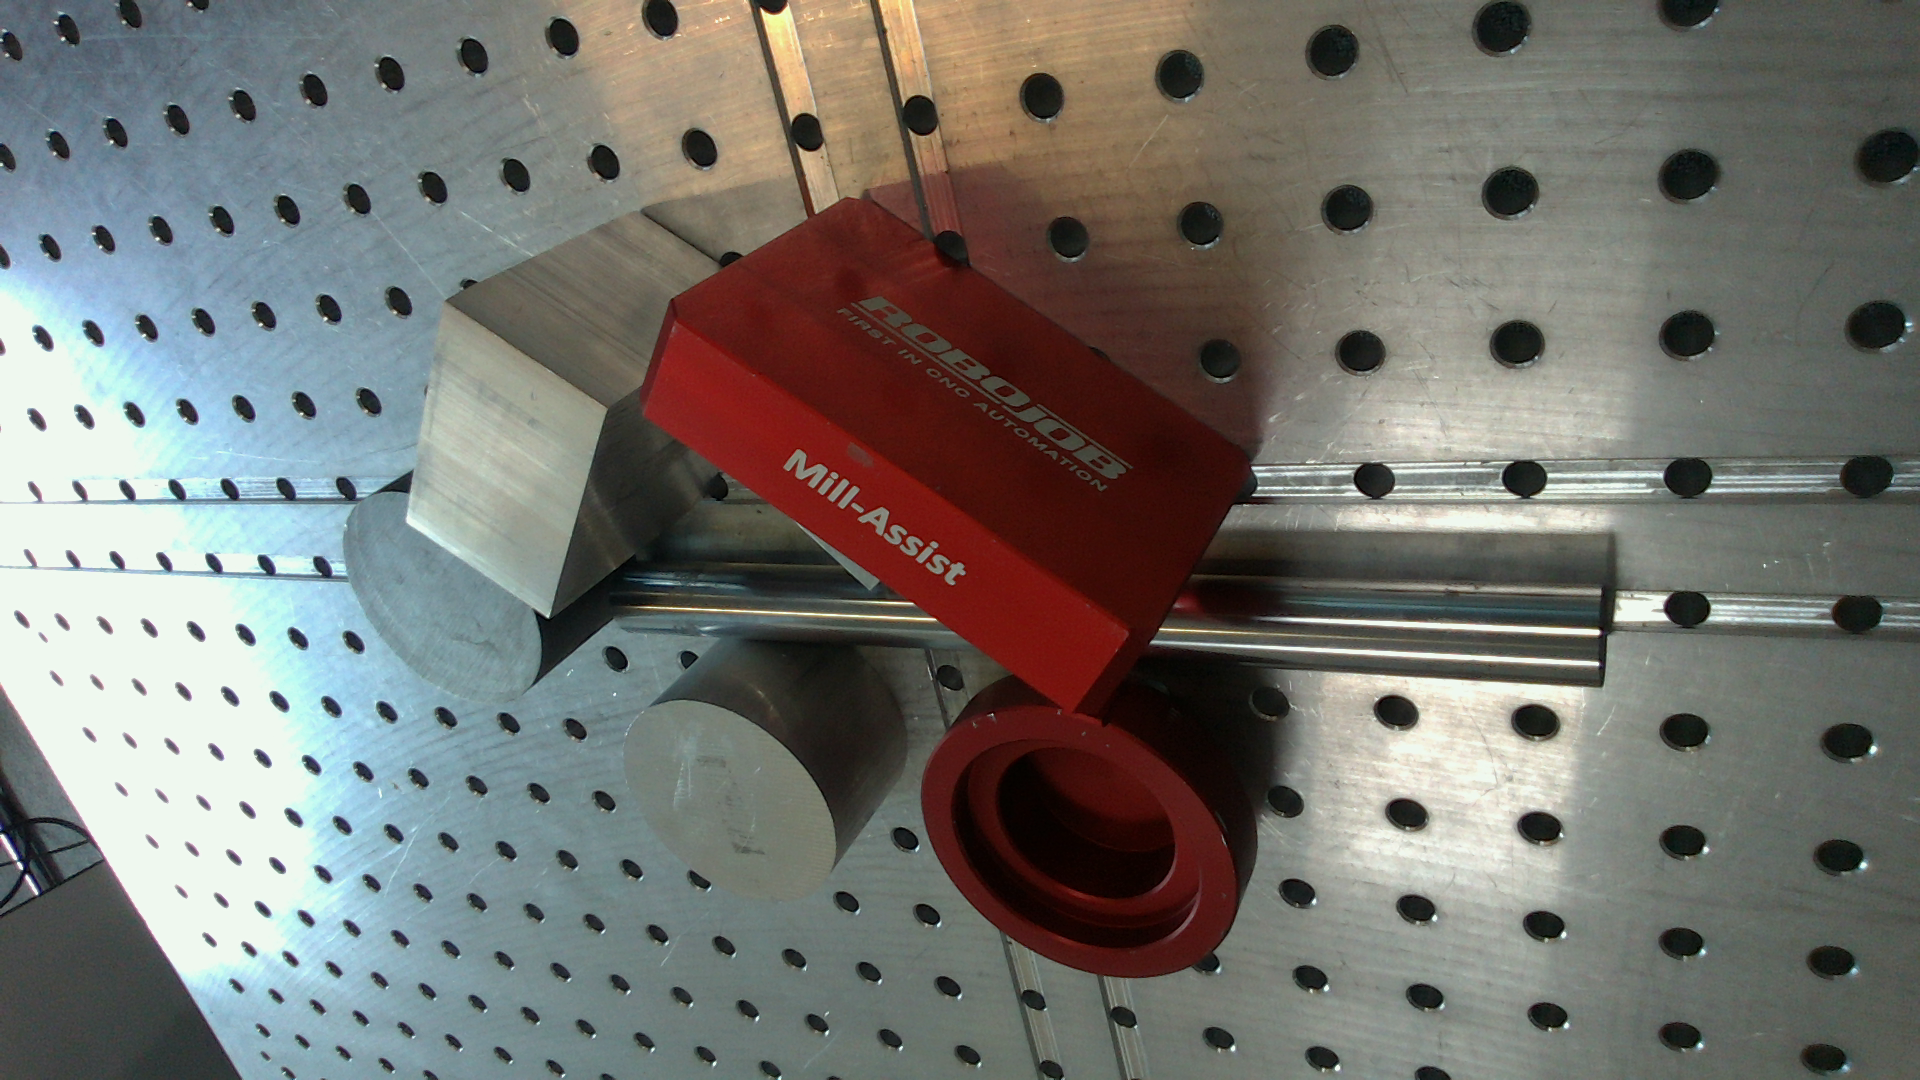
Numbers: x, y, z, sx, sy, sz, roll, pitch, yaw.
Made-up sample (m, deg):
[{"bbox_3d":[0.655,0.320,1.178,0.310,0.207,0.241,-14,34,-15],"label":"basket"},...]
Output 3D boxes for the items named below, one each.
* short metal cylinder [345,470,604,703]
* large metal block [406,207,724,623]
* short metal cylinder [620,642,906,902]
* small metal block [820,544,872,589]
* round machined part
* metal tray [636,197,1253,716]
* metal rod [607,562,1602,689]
[{"bbox_3d":[-0.160,0.008,0.470,0.080,0.050,0.080,13,124,21],"label":"short metal cylinder"},{"bbox_3d":[-0.105,-0.037,0.394,0.050,0.080,0.080,33,129,6],"label":"large metal block"},{"bbox_3d":[-0.065,0.073,0.459,0.080,0.050,0.080,13,124,21],"label":"short metal cylinder"},{"bbox_3d":[-0.027,-0.022,0.397,0.050,0.025,0.050,43,129,-2],"label":"small metal block"},{"bbox_3d":[0.041,0.079,0.412,0.098,0.042,0.098,13,124,21],"label":"round machined part"},{"bbox_3d":[0.000,-0.026,0.337,0.130,0.090,0.030,35,129,5],"label":"metal tray"},{"bbox_3d":[0.021,0.021,0.398,0.299,0.025,0.025,1,119,28],"label":"metal rod"}]
